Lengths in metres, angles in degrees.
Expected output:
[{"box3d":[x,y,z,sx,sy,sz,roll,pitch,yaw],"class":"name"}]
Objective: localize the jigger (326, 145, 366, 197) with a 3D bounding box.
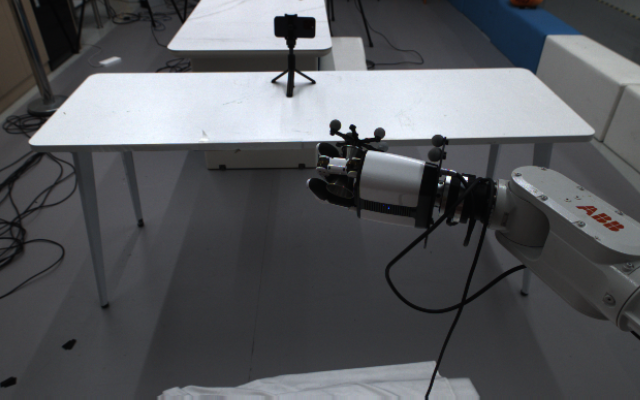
[{"box3d":[0.043,-0.042,0.715,0.043,0.043,0.071,13,70,16],"class":"jigger"}]
